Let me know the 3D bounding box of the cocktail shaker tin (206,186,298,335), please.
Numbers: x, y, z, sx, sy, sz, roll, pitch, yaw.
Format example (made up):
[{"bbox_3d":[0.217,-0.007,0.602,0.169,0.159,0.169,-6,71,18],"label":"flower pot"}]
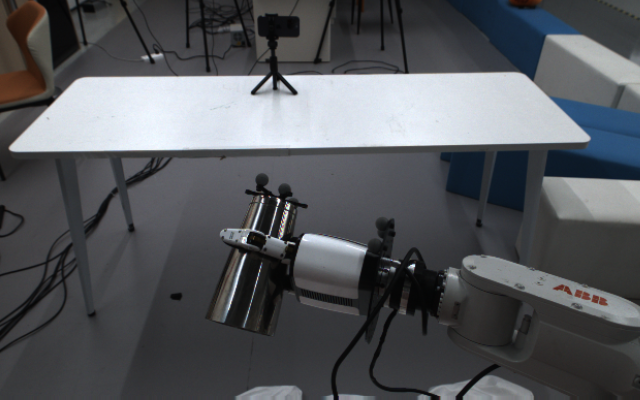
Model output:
[{"bbox_3d":[-0.081,0.085,0.638,0.093,0.093,0.170,10,71,12],"label":"cocktail shaker tin"}]
